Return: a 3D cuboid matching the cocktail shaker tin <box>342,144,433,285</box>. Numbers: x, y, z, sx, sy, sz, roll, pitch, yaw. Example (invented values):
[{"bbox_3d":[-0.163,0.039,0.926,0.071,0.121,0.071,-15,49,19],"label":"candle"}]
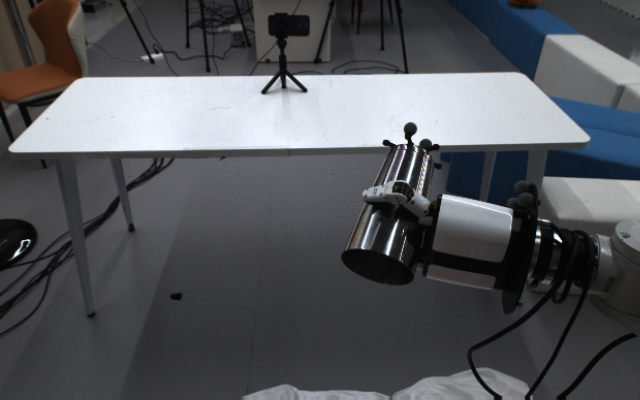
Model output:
[{"bbox_3d":[0.096,0.013,0.624,0.093,0.093,0.170,14,60,17],"label":"cocktail shaker tin"}]
